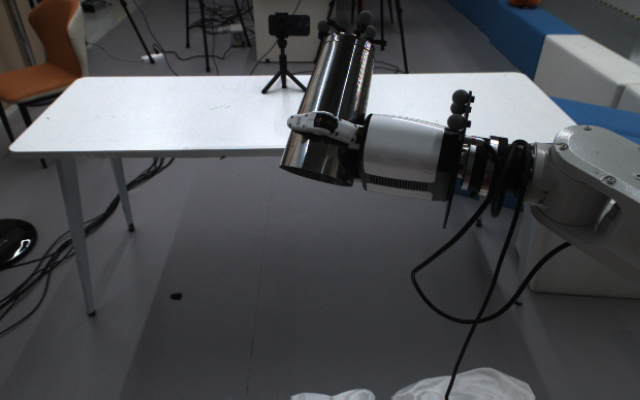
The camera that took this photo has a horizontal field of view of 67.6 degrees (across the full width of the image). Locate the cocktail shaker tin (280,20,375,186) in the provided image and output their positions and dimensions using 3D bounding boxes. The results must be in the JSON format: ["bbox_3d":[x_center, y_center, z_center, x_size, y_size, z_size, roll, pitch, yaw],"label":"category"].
[{"bbox_3d":[0.016,-0.111,0.593,0.093,0.170,0.093,15,-4,1],"label":"cocktail shaker tin"}]
